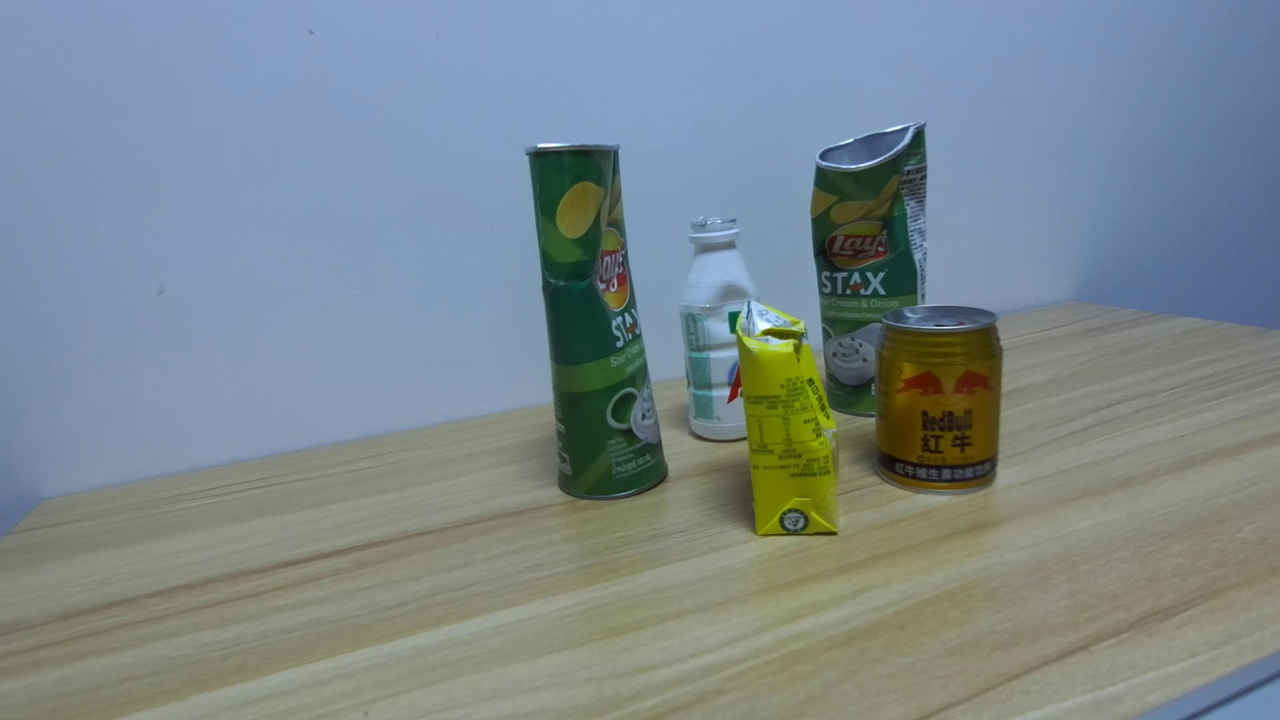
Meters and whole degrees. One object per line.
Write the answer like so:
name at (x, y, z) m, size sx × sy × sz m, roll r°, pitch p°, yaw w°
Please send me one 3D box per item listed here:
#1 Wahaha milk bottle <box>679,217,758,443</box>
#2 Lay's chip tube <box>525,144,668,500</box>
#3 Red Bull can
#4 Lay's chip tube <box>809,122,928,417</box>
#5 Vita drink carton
Wahaha milk bottle at (0.056, -0.021, 0.478) m, size 0.055 × 0.149 × 0.055 m, roll -3°, pitch 12°, yaw 1°
Lay's chip tube at (-0.026, -0.023, 0.423) m, size 0.069 × 0.199 × 0.074 m, roll -10°, pitch 14°, yaw -19°
Red Bull can at (0.167, 0.020, 0.398) m, size 0.067 × 0.093 × 0.067 m, roll -4°, pitch 14°, yaw 1°
Lay's chip tube at (0.162, -0.056, 0.495) m, size 0.079 × 0.199 × 0.071 m, roll -3°, pitch 21°, yaw 14°
Vita drink carton at (0.079, 0.027, 0.365) m, size 0.046 × 0.109 × 0.071 m, roll -4°, pitch 15°, yaw 13°
